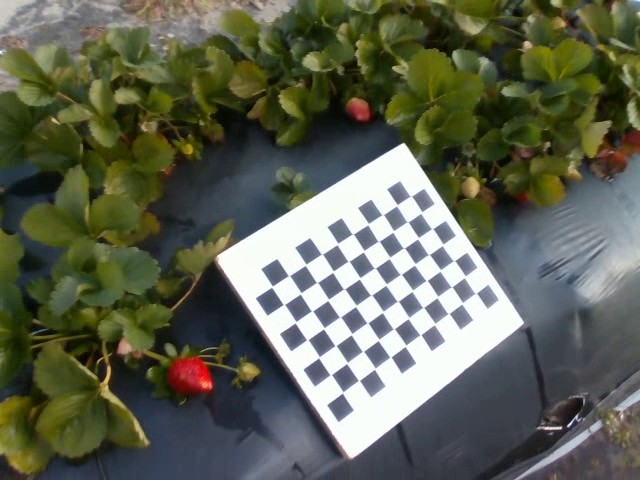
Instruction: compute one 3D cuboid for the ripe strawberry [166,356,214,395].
[{"bbox_3d":[-0.131,0.147,0.671,0.057,0.043,0.052,11,-25,48],"label":"ripe strawberry"}]
